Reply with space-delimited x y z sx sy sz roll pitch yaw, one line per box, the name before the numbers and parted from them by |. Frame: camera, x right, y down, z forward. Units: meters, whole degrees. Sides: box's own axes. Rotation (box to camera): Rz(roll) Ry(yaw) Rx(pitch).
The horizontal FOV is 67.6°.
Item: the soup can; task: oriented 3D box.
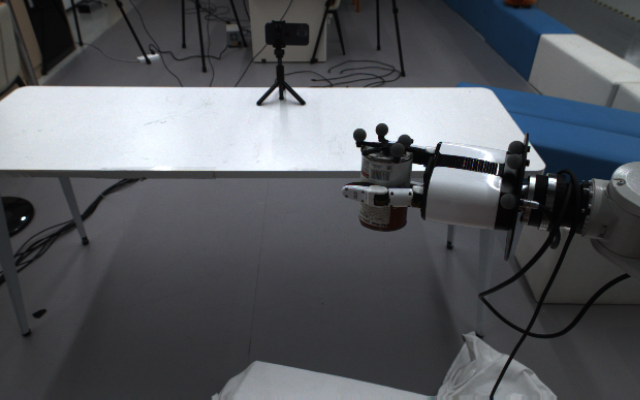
soup can | 0.088 -0.018 0.649 0.067 0.101 0.067 1 25 0
